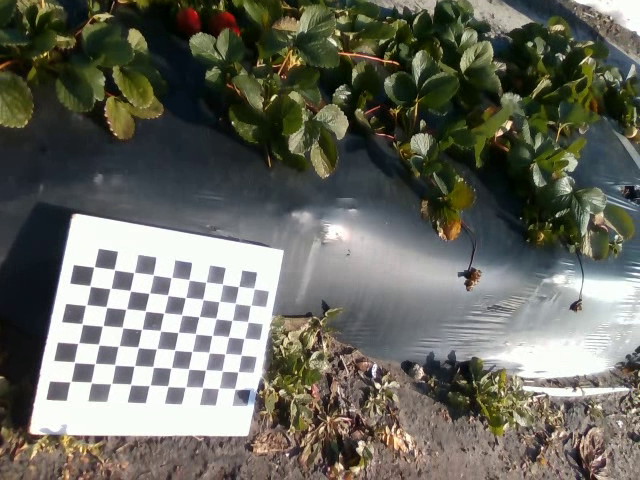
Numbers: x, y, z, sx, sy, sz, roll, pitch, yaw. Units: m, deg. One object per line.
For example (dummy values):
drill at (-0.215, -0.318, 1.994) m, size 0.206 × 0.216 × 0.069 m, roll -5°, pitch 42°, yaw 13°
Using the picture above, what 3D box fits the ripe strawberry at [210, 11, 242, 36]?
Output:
ripe strawberry at (-0.135, -0.320, 0.860) m, size 0.052 × 0.058 × 0.046 m, roll -27°, pitch -33°, yaw -18°
